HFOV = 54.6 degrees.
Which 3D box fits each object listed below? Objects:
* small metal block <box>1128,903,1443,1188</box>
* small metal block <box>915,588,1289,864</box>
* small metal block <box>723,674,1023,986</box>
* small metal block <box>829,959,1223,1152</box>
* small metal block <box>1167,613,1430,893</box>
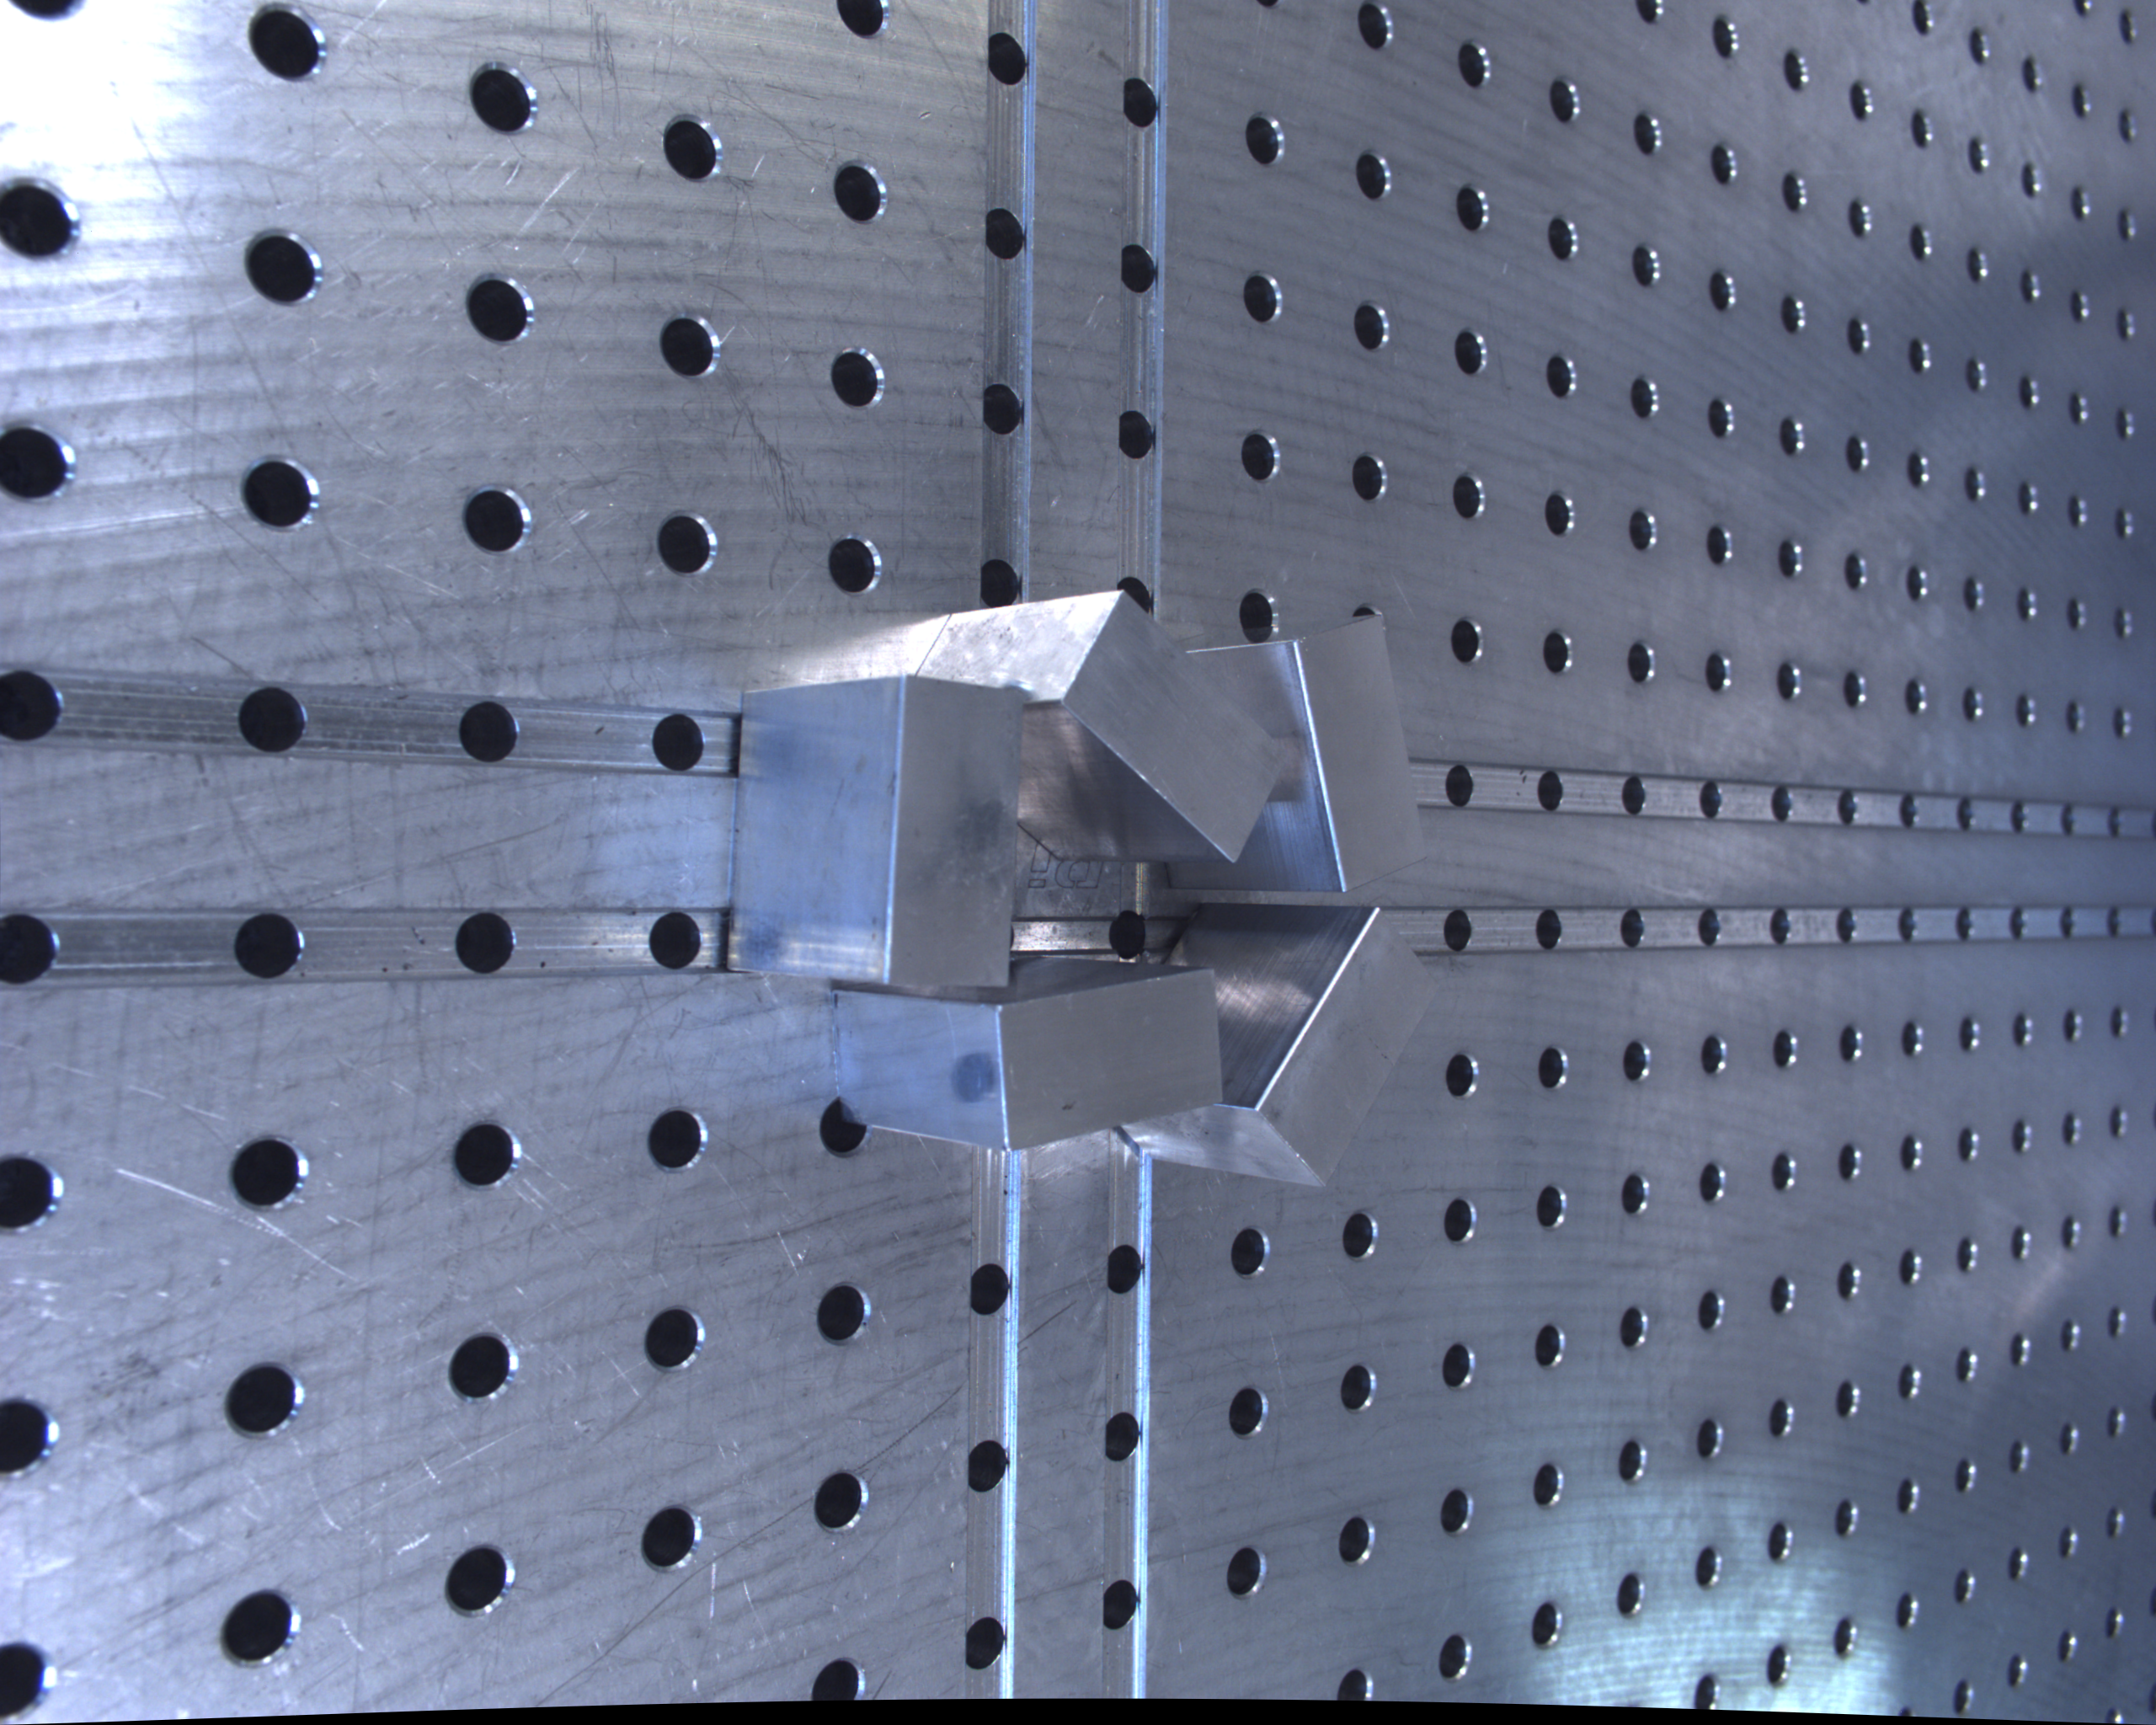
[{"bbox_3d":[0.037,0.035,0.422,0.025,0.050,0.050,50,61,-28],"label":"small metal block"},{"bbox_3d":[0.002,-0.024,0.393,0.050,0.050,0.025,41,66,-33],"label":"small metal block"},{"bbox_3d":[-0.036,-0.005,0.361,0.025,0.050,0.050,5,88,-40],"label":"small metal block"},{"bbox_3d":[-0.010,0.034,0.383,0.050,0.050,0.025,-7,94,-40],"label":"small metal block"},{"bbox_3d":[0.040,-0.021,0.424,0.025,0.050,0.050,-21,103,-38],"label":"small metal block"}]
